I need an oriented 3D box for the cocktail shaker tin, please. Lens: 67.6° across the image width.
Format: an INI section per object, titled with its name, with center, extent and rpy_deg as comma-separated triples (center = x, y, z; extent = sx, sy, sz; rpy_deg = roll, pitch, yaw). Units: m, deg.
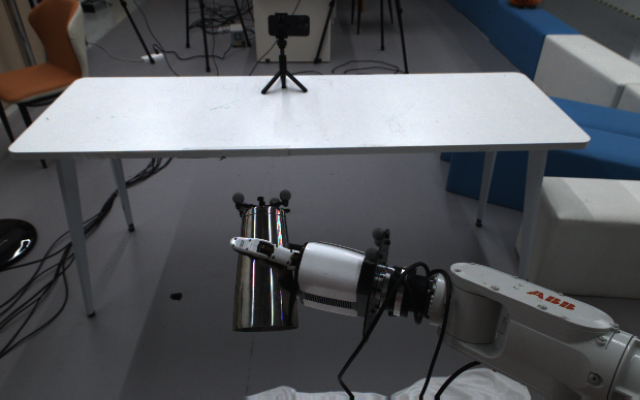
[cocktail shaker tin]
center = -0.081, 0.100, 0.696
extent = 0.093, 0.093, 0.170
rpy_deg = -2, 69, -5
